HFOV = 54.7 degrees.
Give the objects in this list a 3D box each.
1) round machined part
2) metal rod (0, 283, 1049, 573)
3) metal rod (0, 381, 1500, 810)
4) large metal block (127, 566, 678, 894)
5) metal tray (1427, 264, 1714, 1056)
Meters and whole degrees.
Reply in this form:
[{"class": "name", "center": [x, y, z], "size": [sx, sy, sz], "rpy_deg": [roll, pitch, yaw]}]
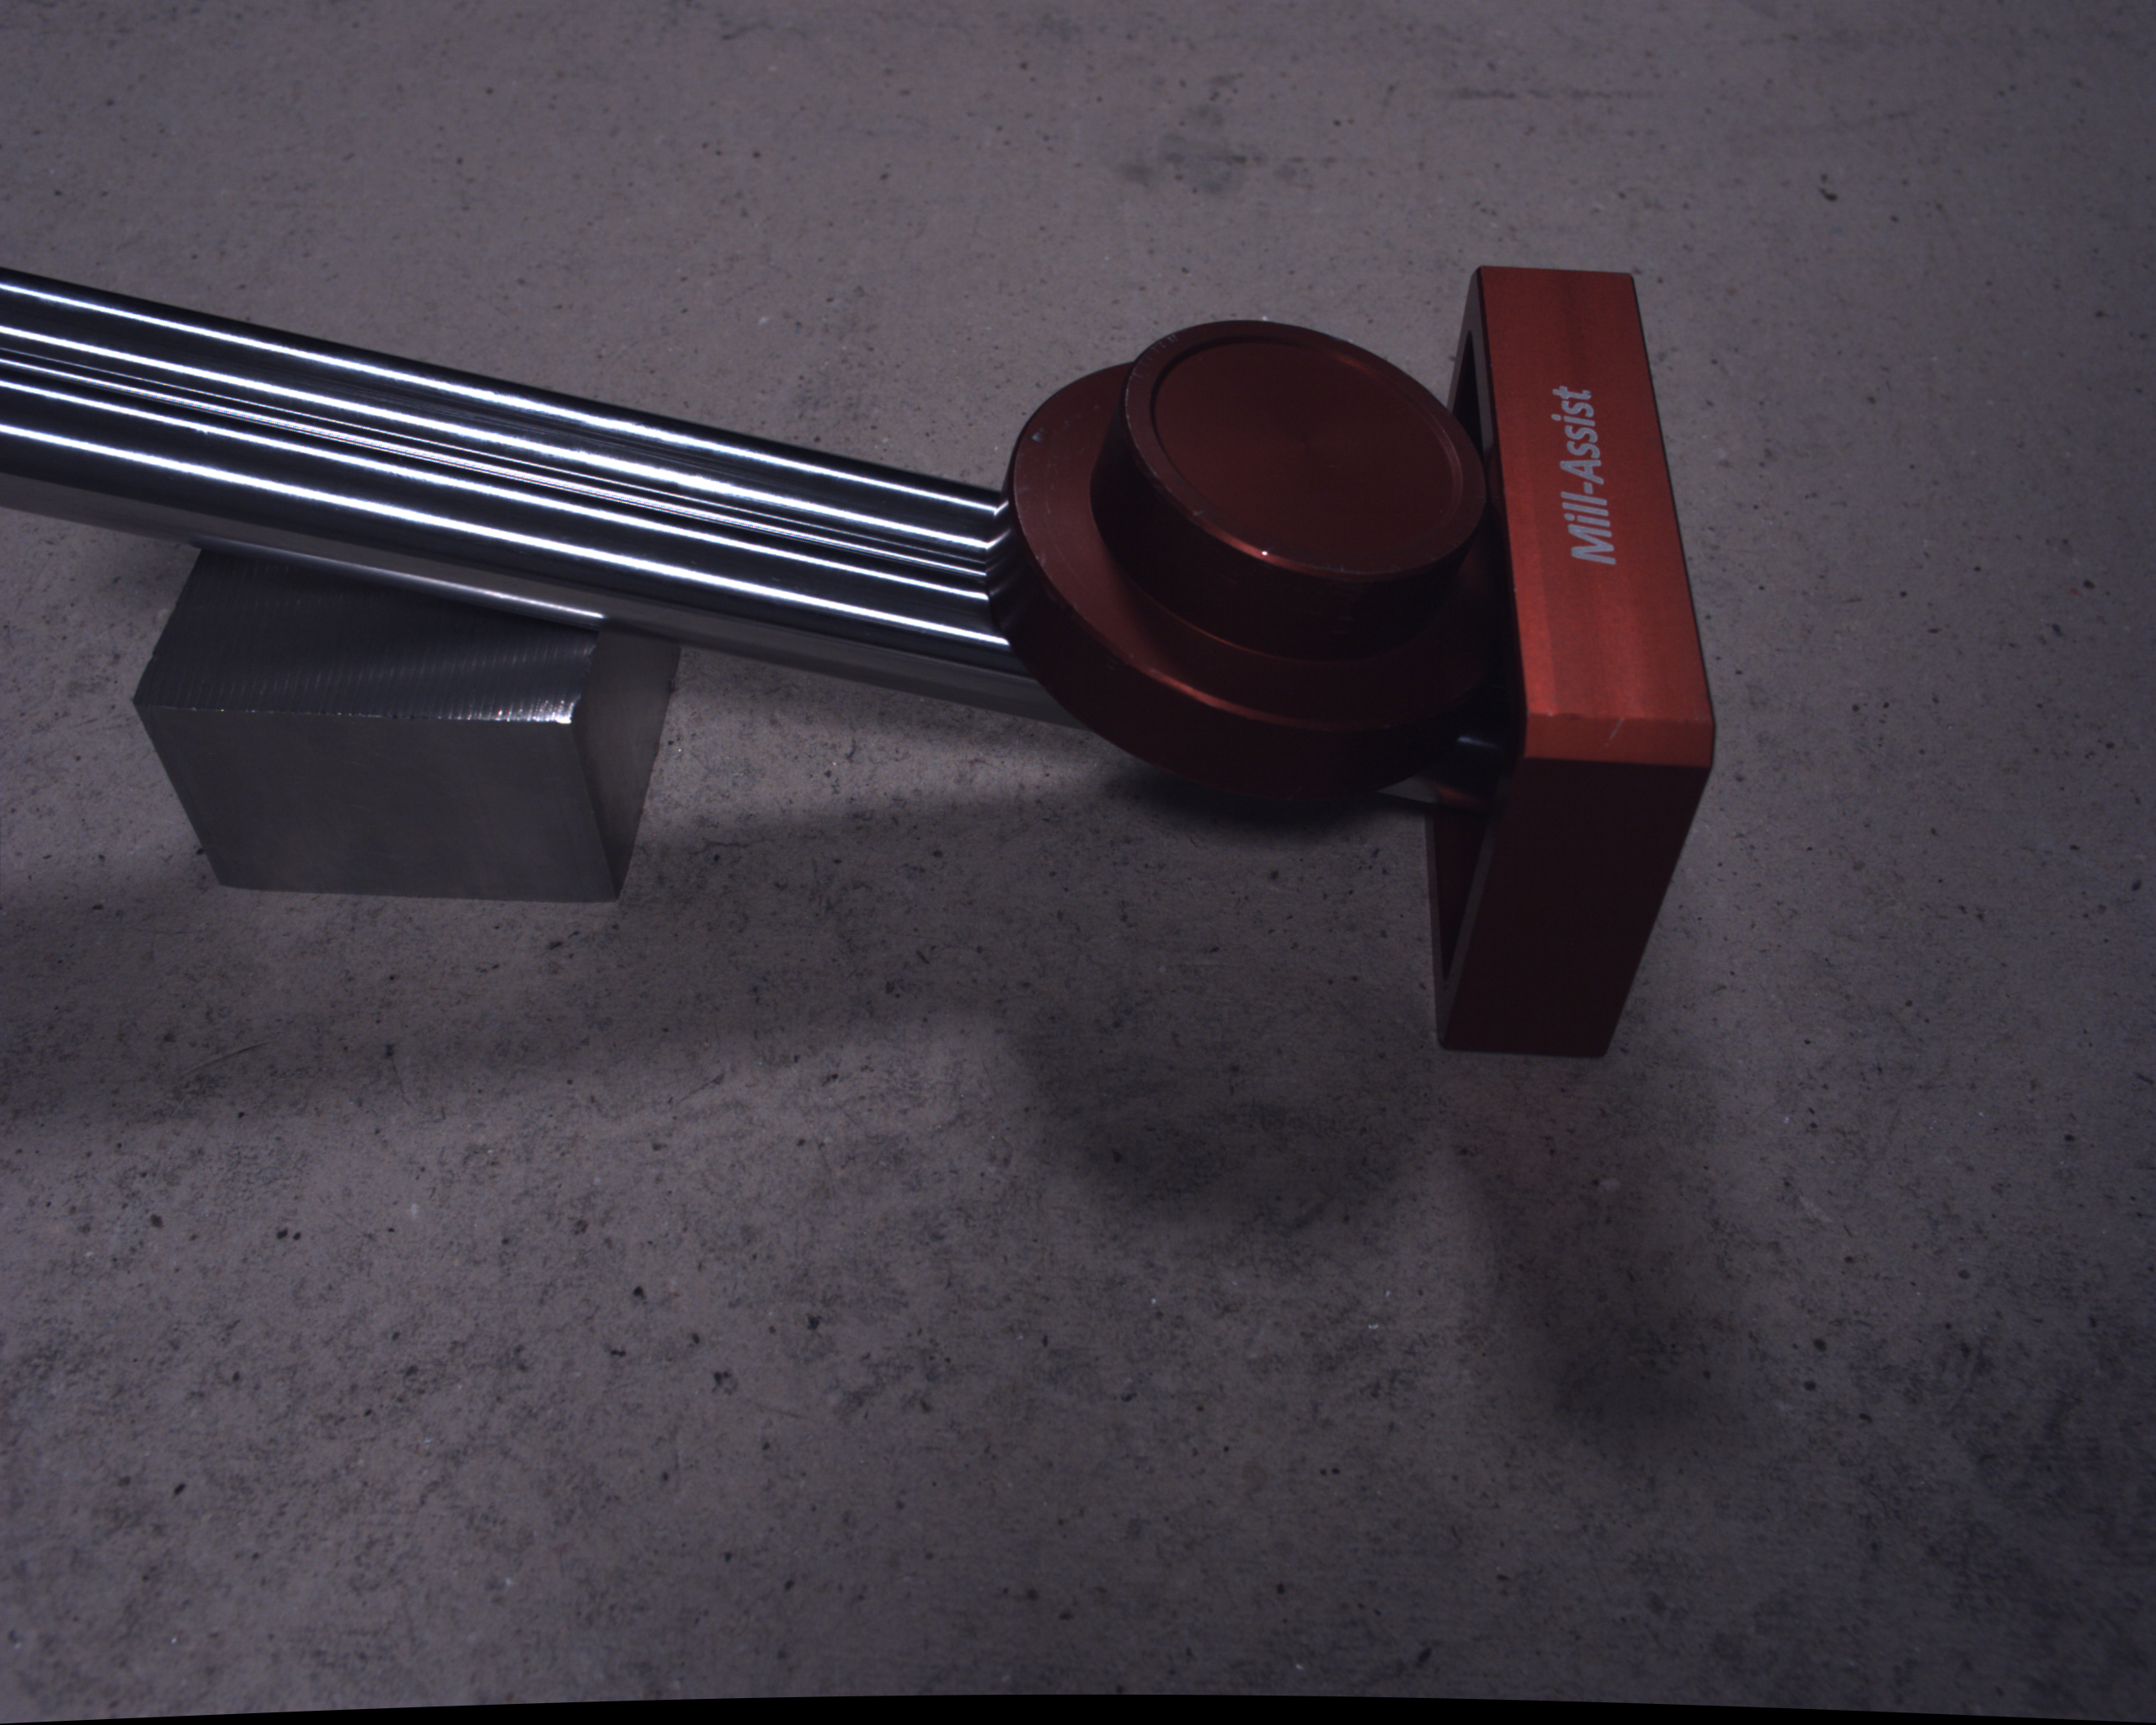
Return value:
[{"class": "round machined part", "center": [0.035, -0.062, 0.383], "size": [0.099, 0.042, 0.098], "rpy_deg": [7, 52, -9]}, {"class": "metal rod", "center": [-0.064, -0.070, 0.404], "size": [0.302, 0.025, 0.025], "rpy_deg": [10, 50, -9]}, {"class": "metal rod", "center": [-0.066, -0.050, 0.387], "size": [0.302, 0.025, 0.025], "rpy_deg": [10, 50, -8]}, {"class": "large metal block", "center": [-0.128, -0.042, 0.417], "size": [0.080, 0.050, 0.080], "rpy_deg": [3, 50, 2]}, {"class": "metal tray", "center": [0.087, -0.040, 0.396], "size": [0.030, 0.089, 0.130], "rpy_deg": [3, 50, 2]}]
